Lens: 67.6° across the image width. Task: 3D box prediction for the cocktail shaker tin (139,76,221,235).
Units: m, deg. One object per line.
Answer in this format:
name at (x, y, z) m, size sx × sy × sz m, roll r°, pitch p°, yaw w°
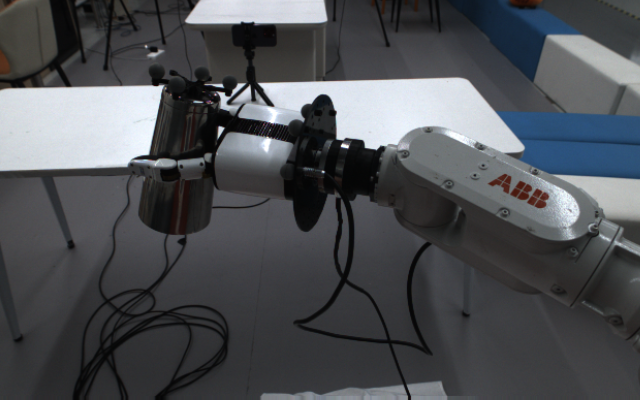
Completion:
cocktail shaker tin at (-0.166, -0.053, 0.595) m, size 0.093 × 0.170 × 0.093 m, roll 12°, pitch 29°, yaw -7°
